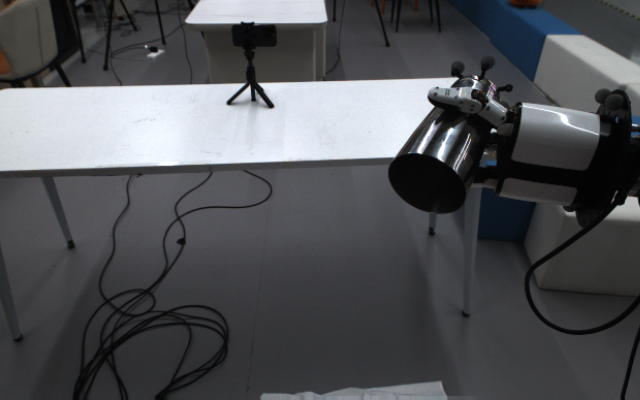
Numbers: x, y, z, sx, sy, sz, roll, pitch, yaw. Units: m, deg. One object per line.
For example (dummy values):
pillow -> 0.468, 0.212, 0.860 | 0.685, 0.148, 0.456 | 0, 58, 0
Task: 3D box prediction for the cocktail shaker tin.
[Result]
cocktail shaker tin -> 0.162, -0.080, 0.580 | 0.093, 0.093, 0.170 | 19, 55, 22
